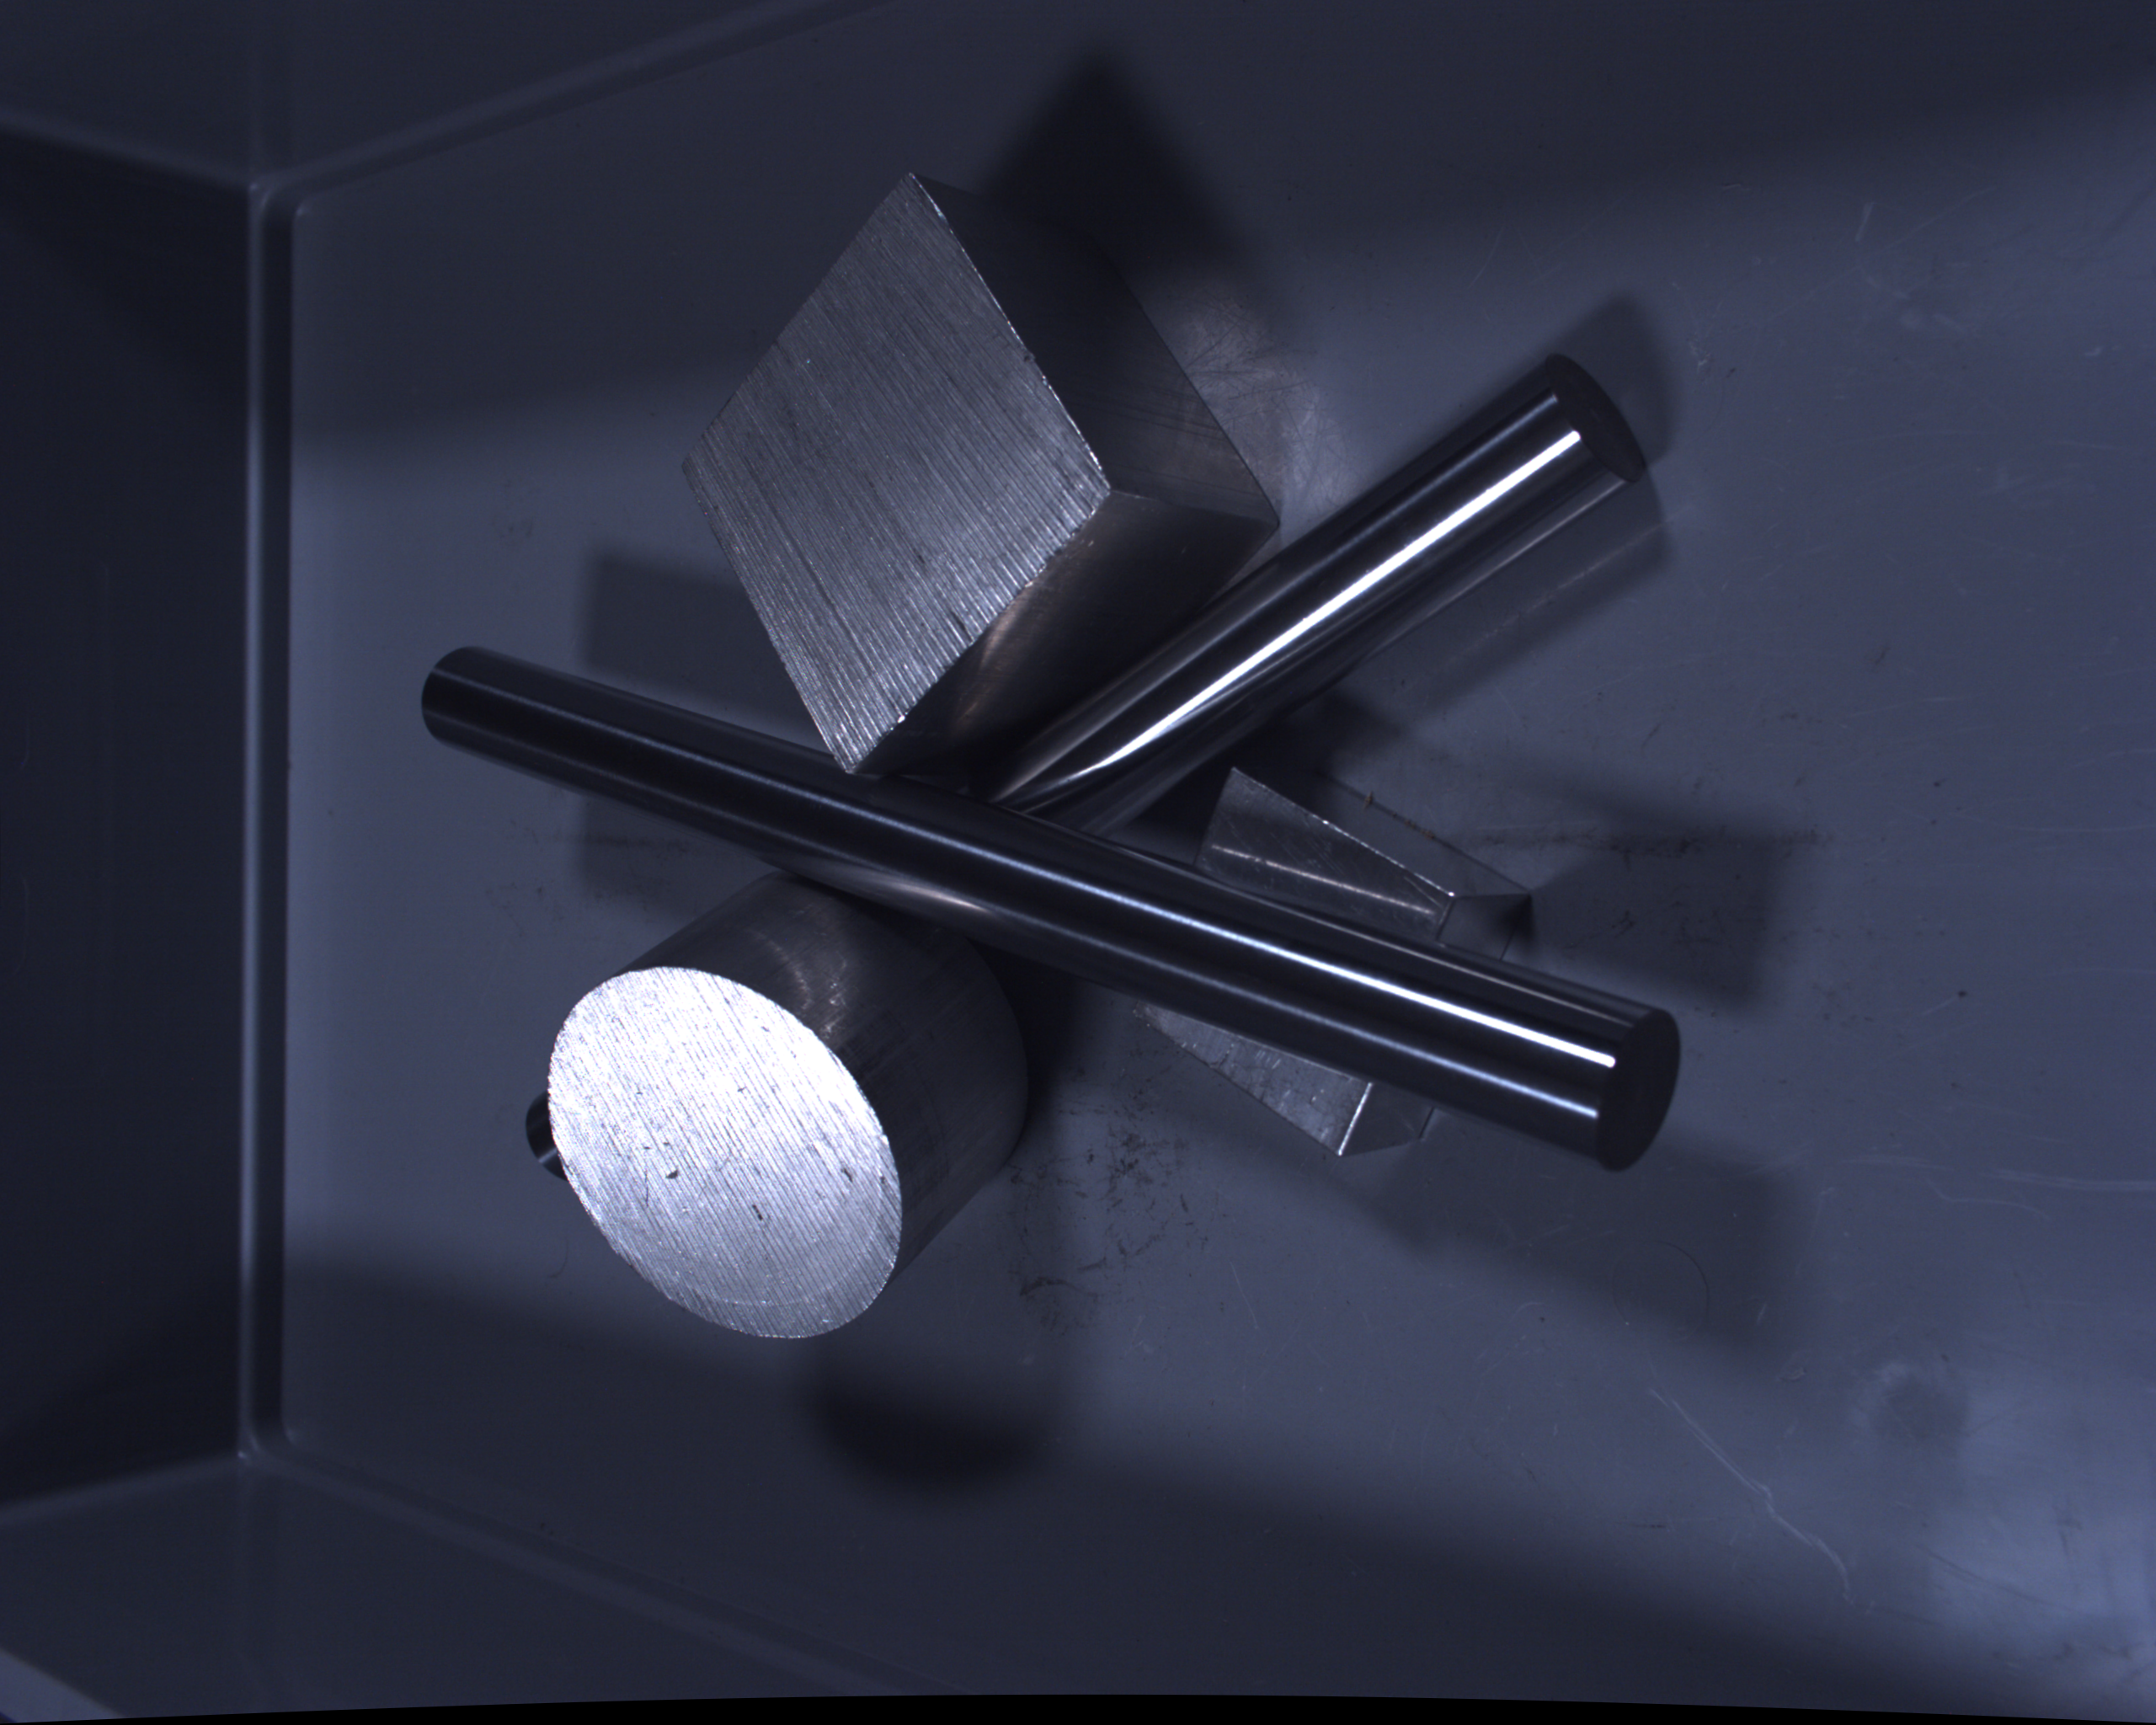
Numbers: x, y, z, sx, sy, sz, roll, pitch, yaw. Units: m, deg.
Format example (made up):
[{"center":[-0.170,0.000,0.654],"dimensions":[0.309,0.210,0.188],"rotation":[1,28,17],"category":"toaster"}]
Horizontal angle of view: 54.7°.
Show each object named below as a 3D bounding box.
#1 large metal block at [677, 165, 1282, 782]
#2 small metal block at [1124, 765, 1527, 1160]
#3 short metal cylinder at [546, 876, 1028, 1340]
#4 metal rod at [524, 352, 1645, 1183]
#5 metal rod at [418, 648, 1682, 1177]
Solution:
[{"center":[-0.021,-0.071,0.403],"dimensions":[0.080,0.050,0.080],"rotation":[-43,64,31],"category":"large metal block"},{"center":[0.042,0.016,0.366],"dimensions":[0.050,0.025,0.050],"rotation":[33,110,34],"category":"small metal block"},{"center":[-0.057,0.047,0.415],"dimensions":[0.080,0.050,0.079],"rotation":[11,116,23],"category":"short metal cylinder"},{"center":[-0.020,-0.003,0.418],"dimensions":[0.299,0.025,0.025],"rotation":[-34,69,34],"category":"metal rod"},{"center":[-0.031,-0.002,0.395],"dimensions":[0.300,0.025,0.025],"rotation":[18,101,38],"category":"metal rod"}]
